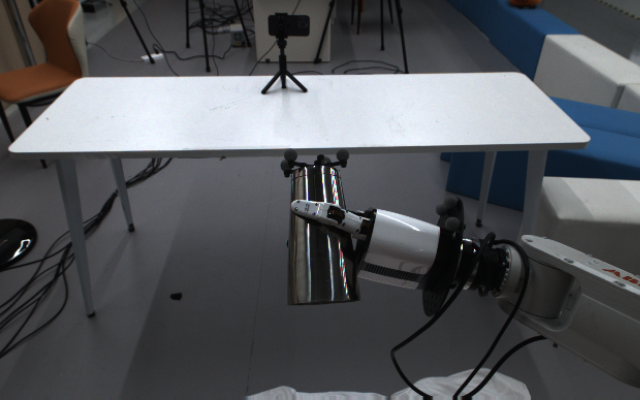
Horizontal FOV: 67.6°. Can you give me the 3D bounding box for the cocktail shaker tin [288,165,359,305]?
[{"bbox_3d":[0.001,0.047,0.625,0.093,0.093,0.170,-3,76,-8],"label":"cocktail shaker tin"}]
